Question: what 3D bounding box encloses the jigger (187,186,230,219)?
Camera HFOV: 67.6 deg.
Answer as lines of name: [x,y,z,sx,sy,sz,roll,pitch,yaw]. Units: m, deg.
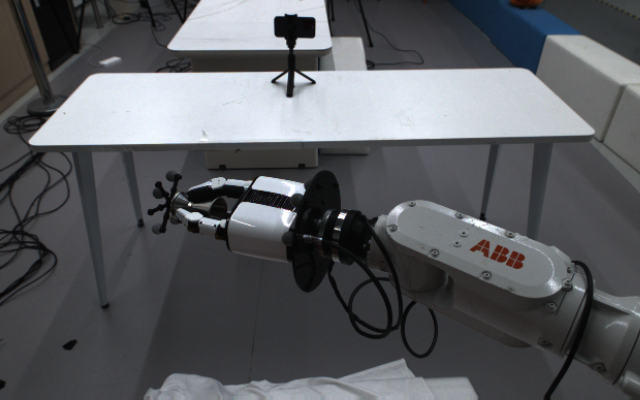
jigger: [-0.168,0.011,0.691,0.071,0.043,0.043,10,35,21]
